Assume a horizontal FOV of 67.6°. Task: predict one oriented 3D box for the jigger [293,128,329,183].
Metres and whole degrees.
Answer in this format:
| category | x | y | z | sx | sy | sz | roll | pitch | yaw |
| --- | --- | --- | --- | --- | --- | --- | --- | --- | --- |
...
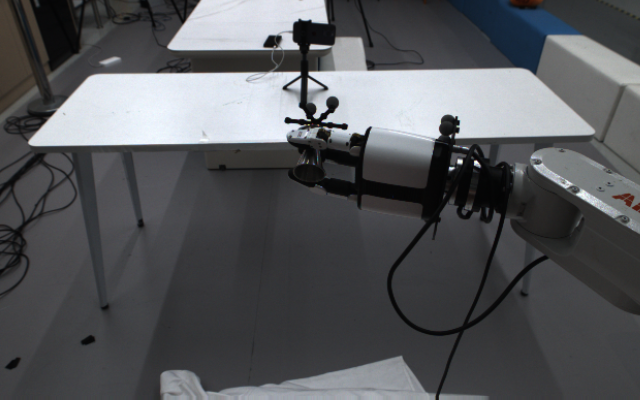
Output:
| category | x | y | z | sx | sy | sz | roll | pitch | yaw |
| --- | --- | --- | --- | --- | --- | --- | --- | --- | --- |
| jigger | -0.012 | -0.064 | 0.657 | 0.043 | 0.043 | 0.071 | 5 | 60 | 4 |
